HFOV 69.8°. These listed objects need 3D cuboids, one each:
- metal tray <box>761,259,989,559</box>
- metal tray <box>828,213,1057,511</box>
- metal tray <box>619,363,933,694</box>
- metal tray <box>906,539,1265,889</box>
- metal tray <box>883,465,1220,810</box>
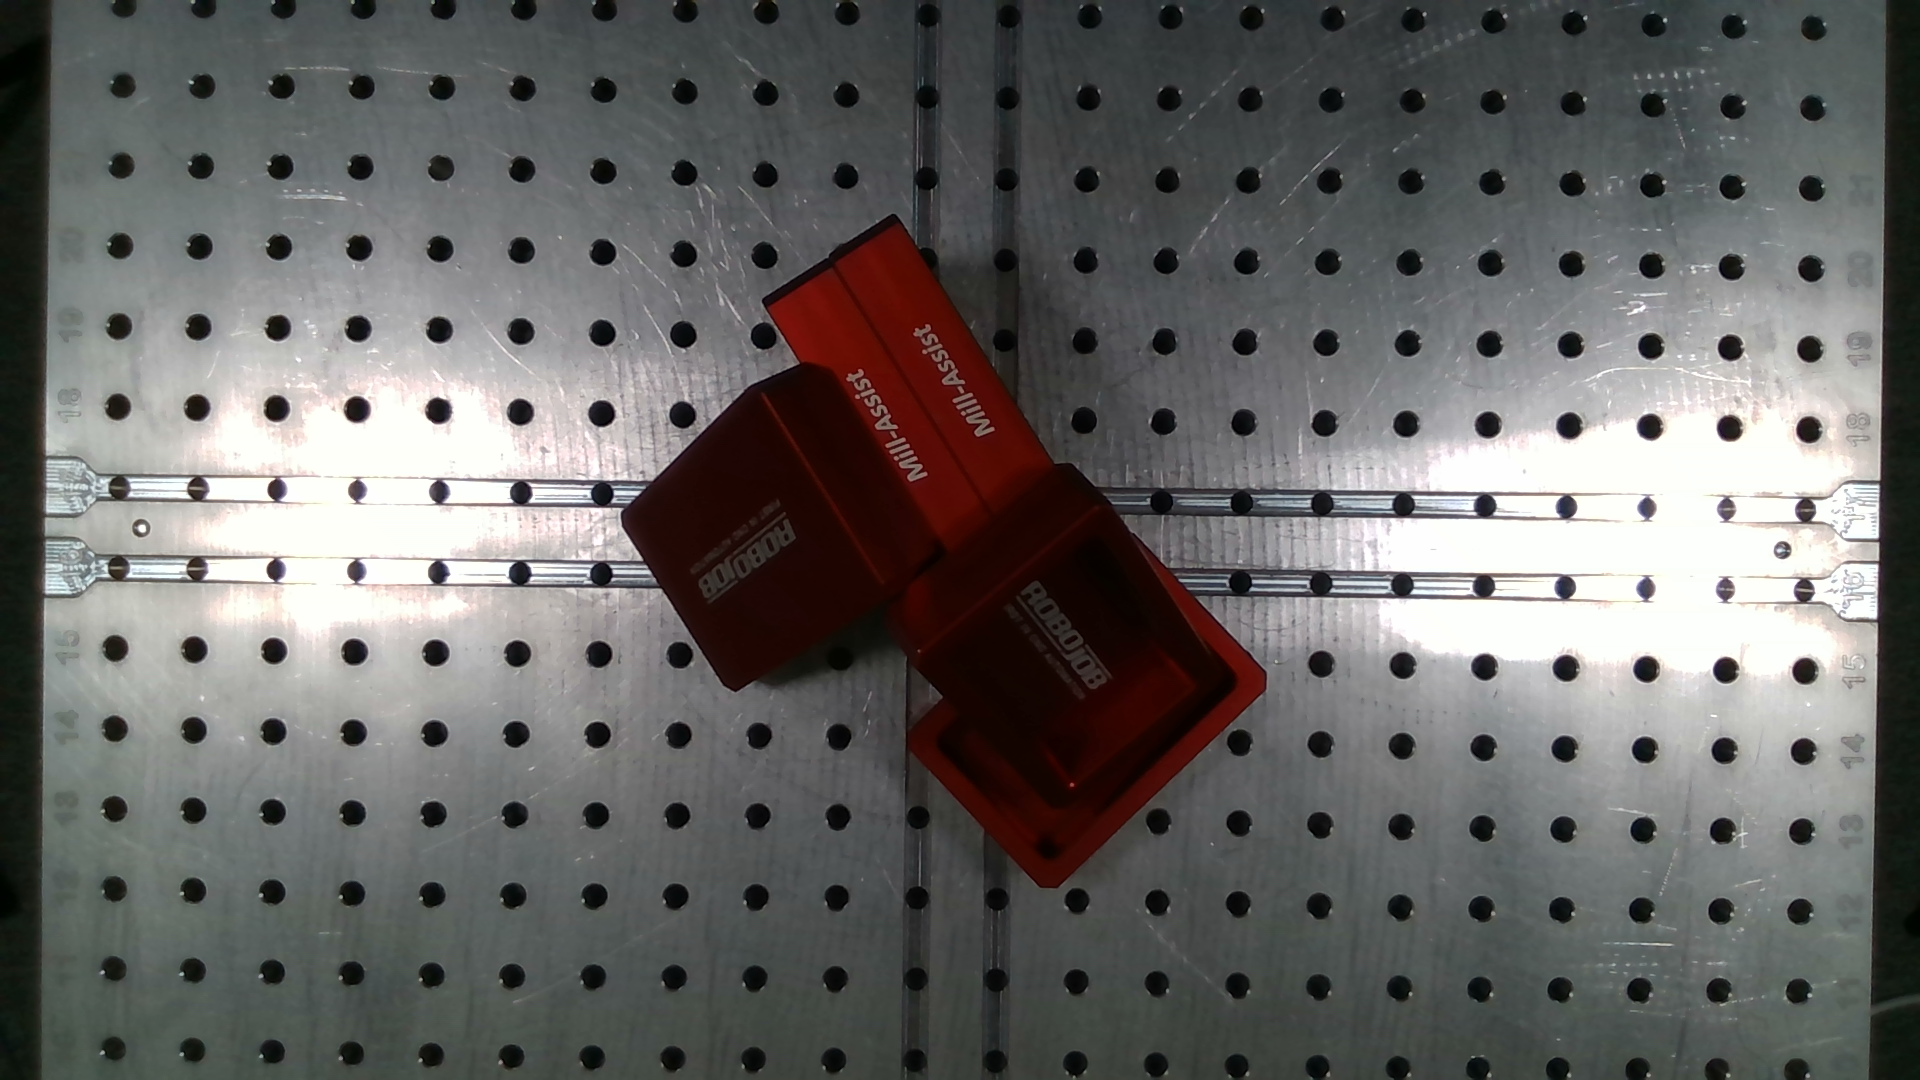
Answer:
[{"bbox_3d":[-0.027,-0.043,0.555,0.030,0.090,0.130,-33,90,0],"label":"metal tray"},{"bbox_3d":[-0.002,-0.060,0.556,0.030,0.090,0.130,-33,90,0],"label":"metal tray"},{"bbox_3d":[-0.077,0.000,0.543,0.030,0.130,0.090,-33,90,-41],"label":"metal tray"},{"bbox_3d":[0.052,0.071,0.586,0.130,0.030,0.090,-44,90,0],"label":"metal tray"},{"bbox_3d":[0.039,0.042,0.533,0.090,0.030,0.130,-39,135,0],"label":"metal tray"}]
